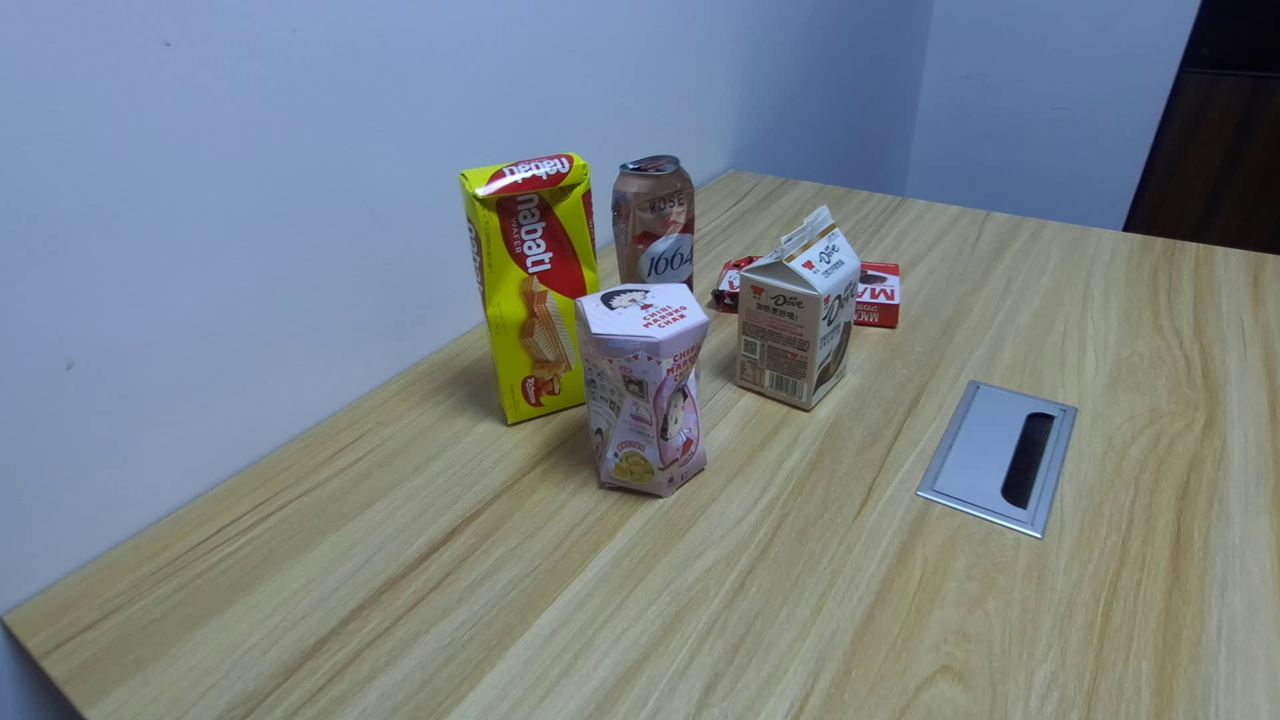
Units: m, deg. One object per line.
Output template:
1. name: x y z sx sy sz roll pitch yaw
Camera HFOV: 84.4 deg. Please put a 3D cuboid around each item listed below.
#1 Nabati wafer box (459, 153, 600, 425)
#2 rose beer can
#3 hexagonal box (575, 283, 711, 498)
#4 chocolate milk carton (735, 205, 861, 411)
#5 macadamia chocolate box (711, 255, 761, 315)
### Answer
1. Nabati wafer box: -0.076 -0.050 0.556 0.097 0.203 0.042 -13 31 -18
2. rose beer can: 0.015 -0.102 0.653 0.076 0.167 0.065 -17 33 -16
3. hexagonal box: 0.002 0.022 0.497 0.093 0.135 0.089 4 33 10
4. chocolate milk carton: 0.129 -0.046 0.574 0.073 0.148 0.075 21 39 33
5. macadamia chocolate box: 0.173 -0.076 0.735 0.186 0.027 0.103 7 33 14
